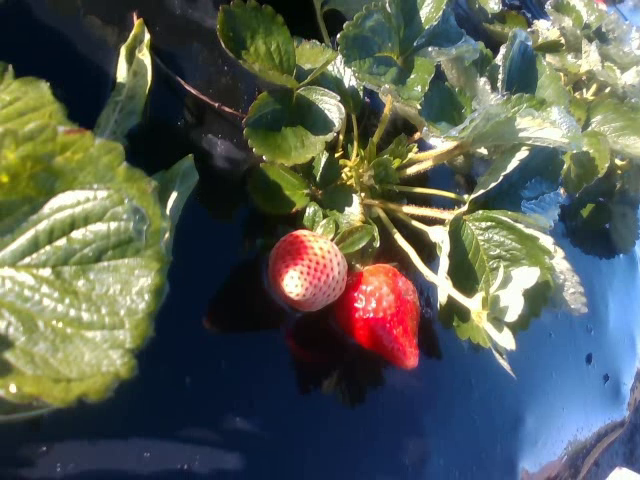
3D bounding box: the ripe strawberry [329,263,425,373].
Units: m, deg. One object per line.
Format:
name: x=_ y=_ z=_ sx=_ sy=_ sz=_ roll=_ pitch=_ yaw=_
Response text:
ripe strawberry: x=0.030 y=0.033 z=0.241 sx=0.040 sy=0.038 sz=0.056 roll=-10 pitch=29 yaw=-18
